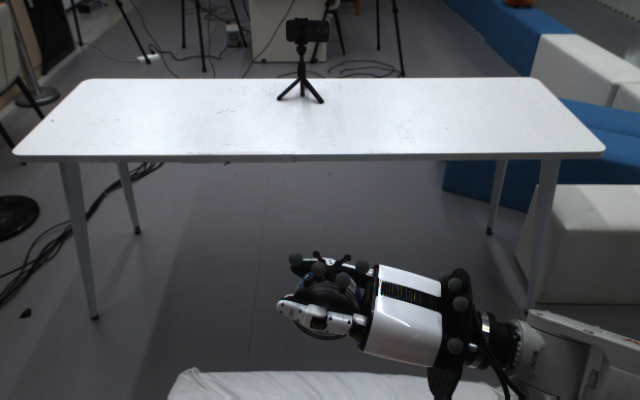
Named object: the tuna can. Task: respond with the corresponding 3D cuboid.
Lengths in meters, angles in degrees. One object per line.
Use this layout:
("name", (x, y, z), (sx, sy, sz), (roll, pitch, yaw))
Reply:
("tuna can", (0.011, 0.133, 0.592), (0.085, 0.085, 0.034), (7, 22, 6))
